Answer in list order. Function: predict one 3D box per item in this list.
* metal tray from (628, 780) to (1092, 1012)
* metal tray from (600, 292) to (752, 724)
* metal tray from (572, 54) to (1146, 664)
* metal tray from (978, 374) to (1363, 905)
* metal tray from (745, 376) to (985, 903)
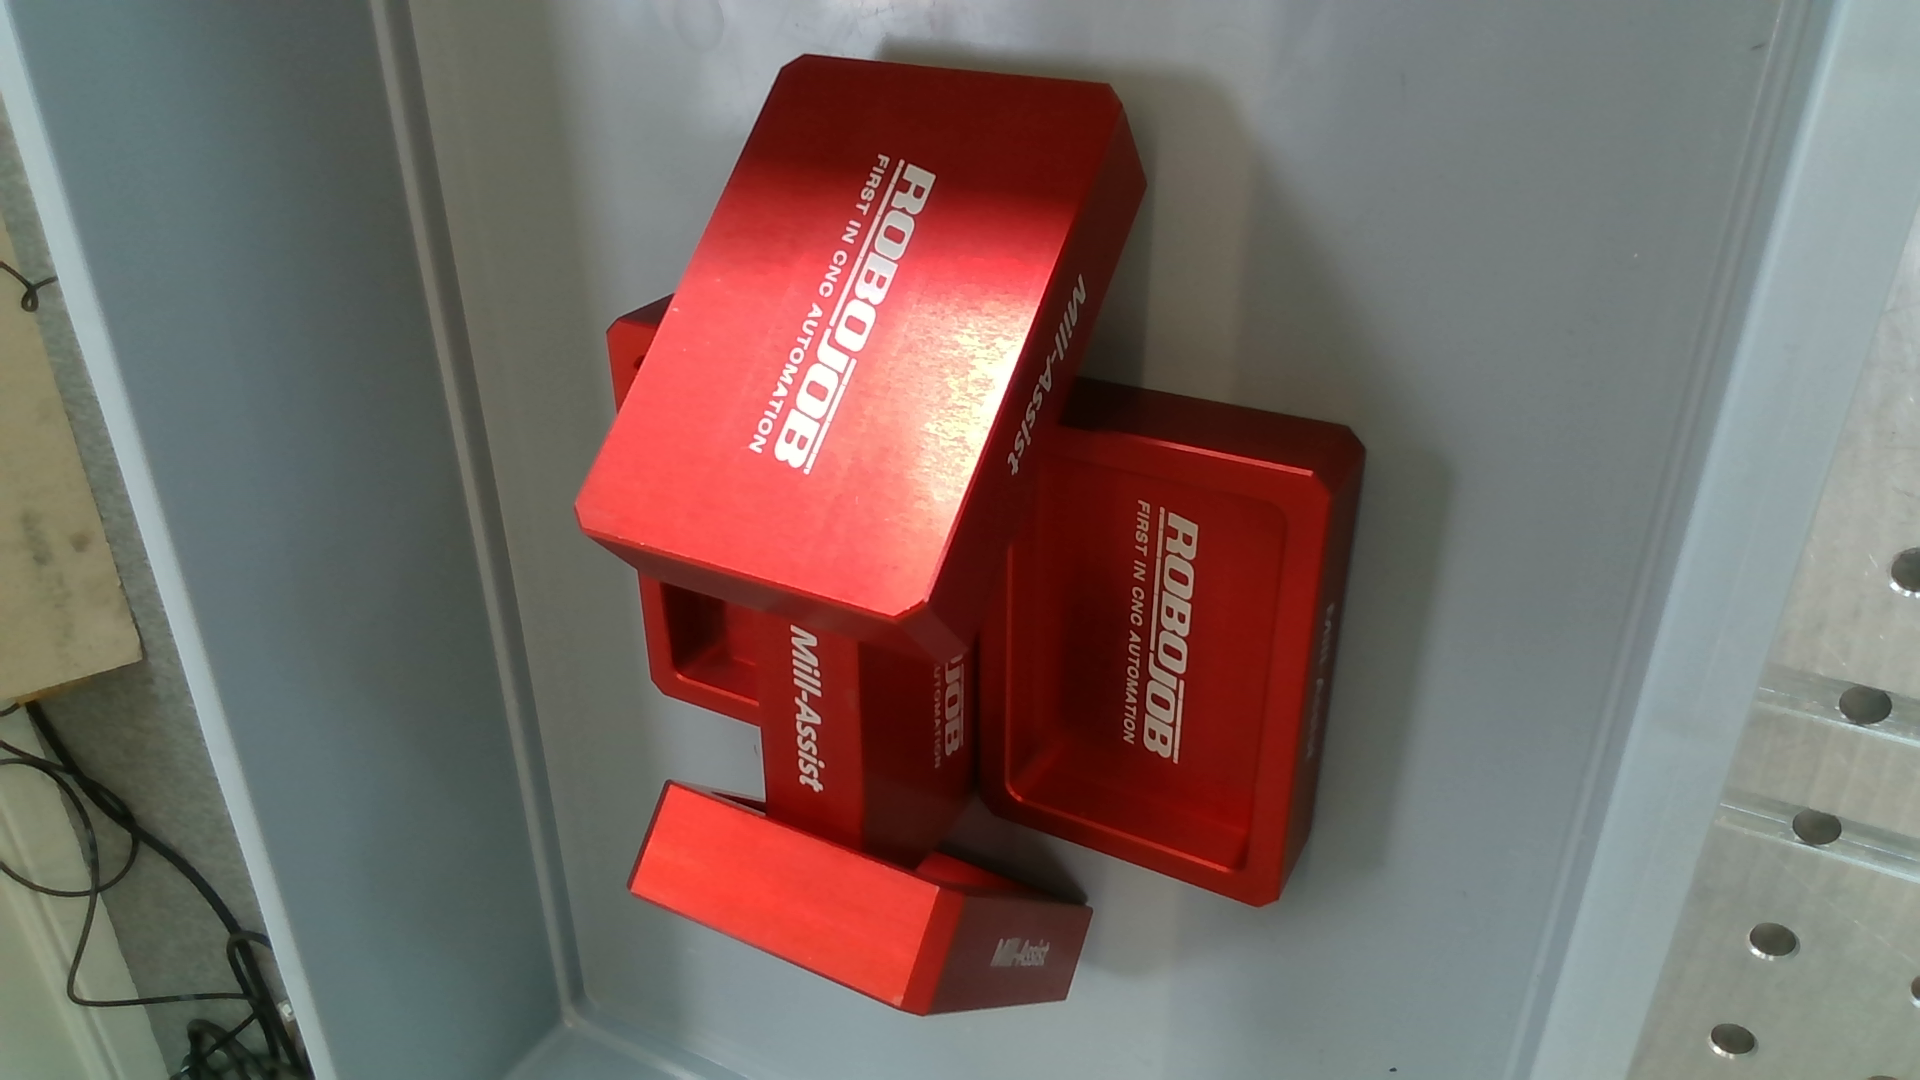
[{"bbox_3d":[-0.023,0.104,0.399,0.090,0.130,0.030,15,80,24],"label":"metal tray"},{"bbox_3d":[-0.057,-0.003,0.415,0.090,0.030,0.130,15,123,24],"label":"metal tray"},{"bbox_3d":[-0.021,-0.046,0.316,0.090,0.130,0.030,15,164,24],"label":"metal tray"},{"bbox_3d":[0.051,0.026,0.367,0.090,0.030,0.130,14,123,25],"label":"metal tray"},{"bbox_3d":[-0.017,0.022,0.368,0.030,0.090,0.130,15,123,25],"label":"metal tray"}]
